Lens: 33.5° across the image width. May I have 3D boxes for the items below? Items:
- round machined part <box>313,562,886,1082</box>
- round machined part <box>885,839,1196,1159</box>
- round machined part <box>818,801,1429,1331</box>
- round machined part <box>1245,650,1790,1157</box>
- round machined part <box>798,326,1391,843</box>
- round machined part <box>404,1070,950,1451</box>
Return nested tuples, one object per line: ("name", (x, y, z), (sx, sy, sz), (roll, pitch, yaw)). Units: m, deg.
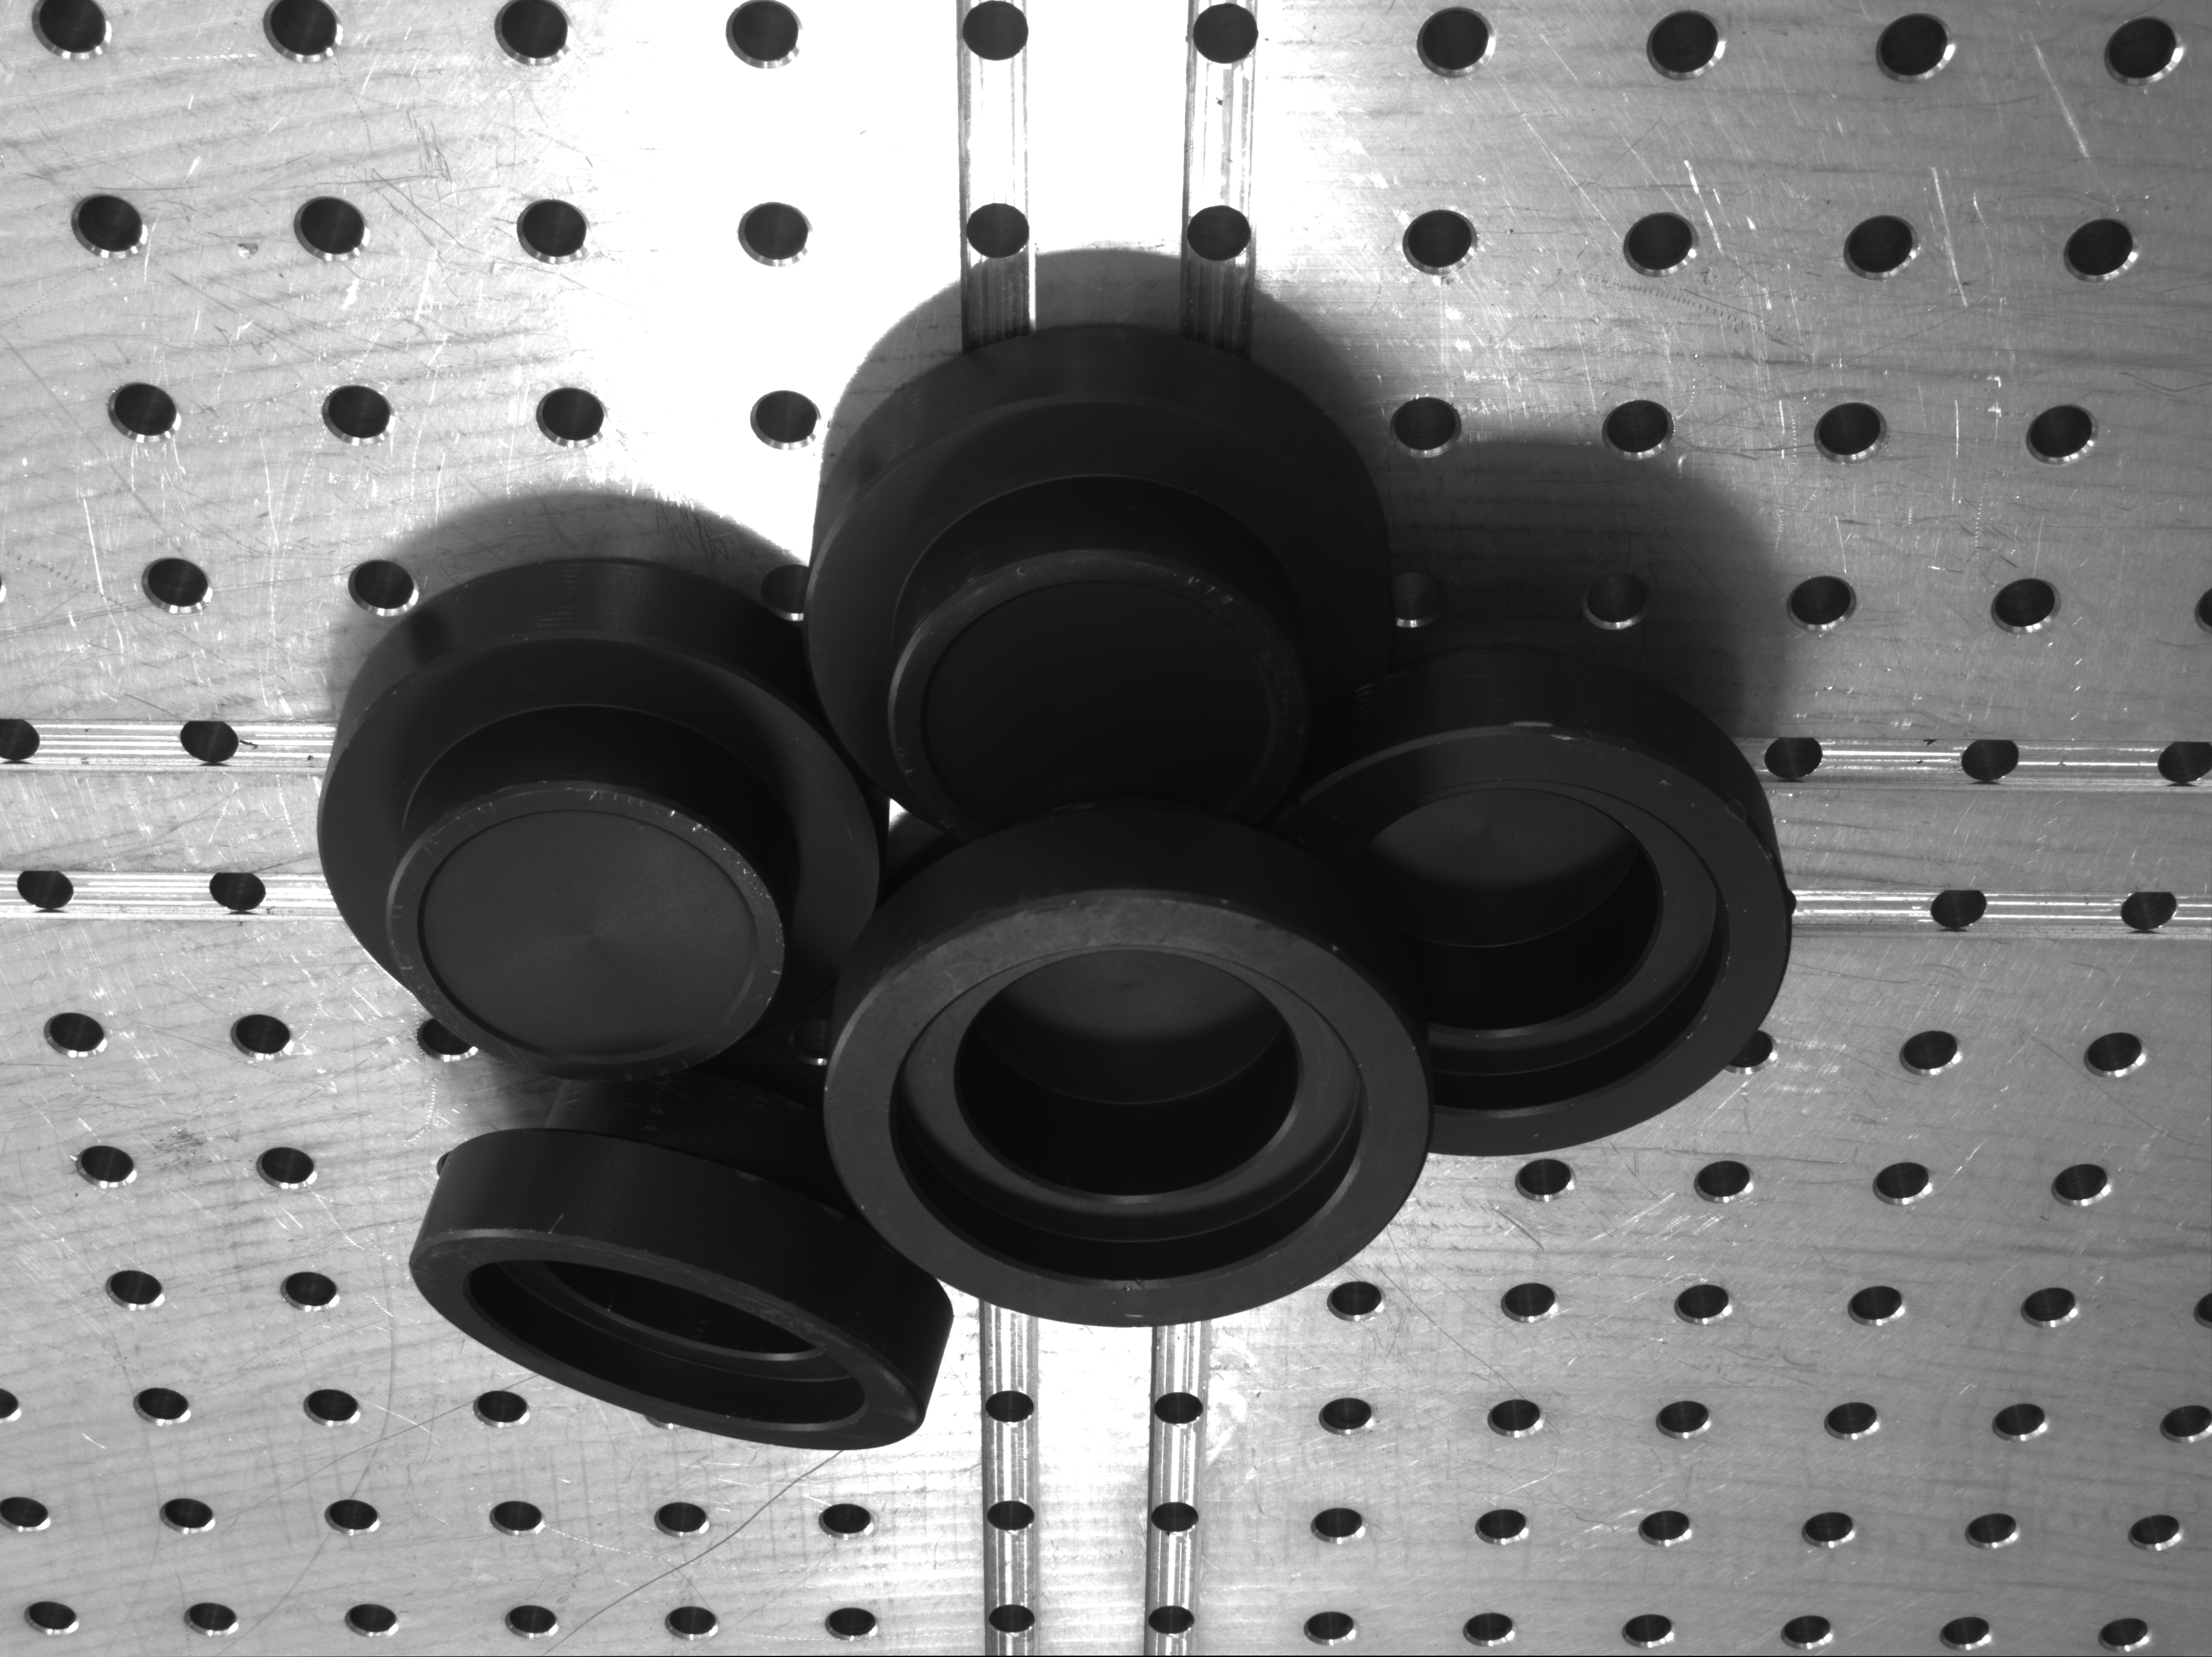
("round machined part", (-0.088, 0.005, 0.636), (0.098, 0.042, 0.098), (0, 130, 0))
("round machined part", (-0.001, 0.045, 0.669), (0.098, 0.042, 0.098), (0, 130, 0))
("round machined part", (0.003, 0.034, 0.605), (0.098, 0.042, 0.098), (0, 130, 0))
("round machined part", (0.067, 0.008, 0.638), (0.098, 0.042, 0.098), (0, 130, 0))
("round machined part", (-0.002, -0.030, 0.606), (0.098, 0.042, 0.098), (0, 130, 0))
("round machined part", (-0.076, 0.077, 0.679), (0.098, 0.042, 0.098), (12, 153, 6))
